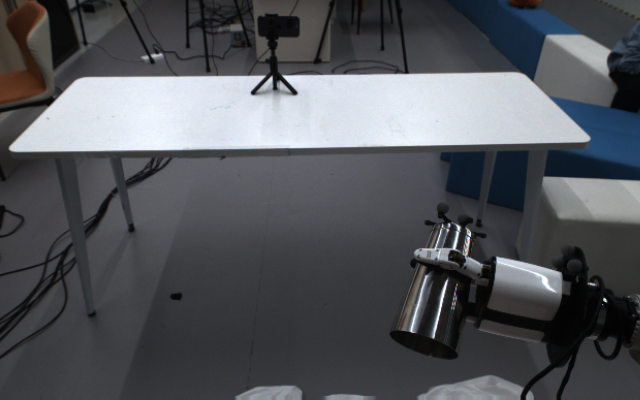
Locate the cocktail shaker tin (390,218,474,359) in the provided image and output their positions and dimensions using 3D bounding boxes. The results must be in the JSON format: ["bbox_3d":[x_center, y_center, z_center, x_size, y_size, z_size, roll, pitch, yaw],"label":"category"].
[{"bbox_3d":[0.167,0.118,0.663,0.093,0.093,0.170,14,61,16],"label":"cocktail shaker tin"}]
